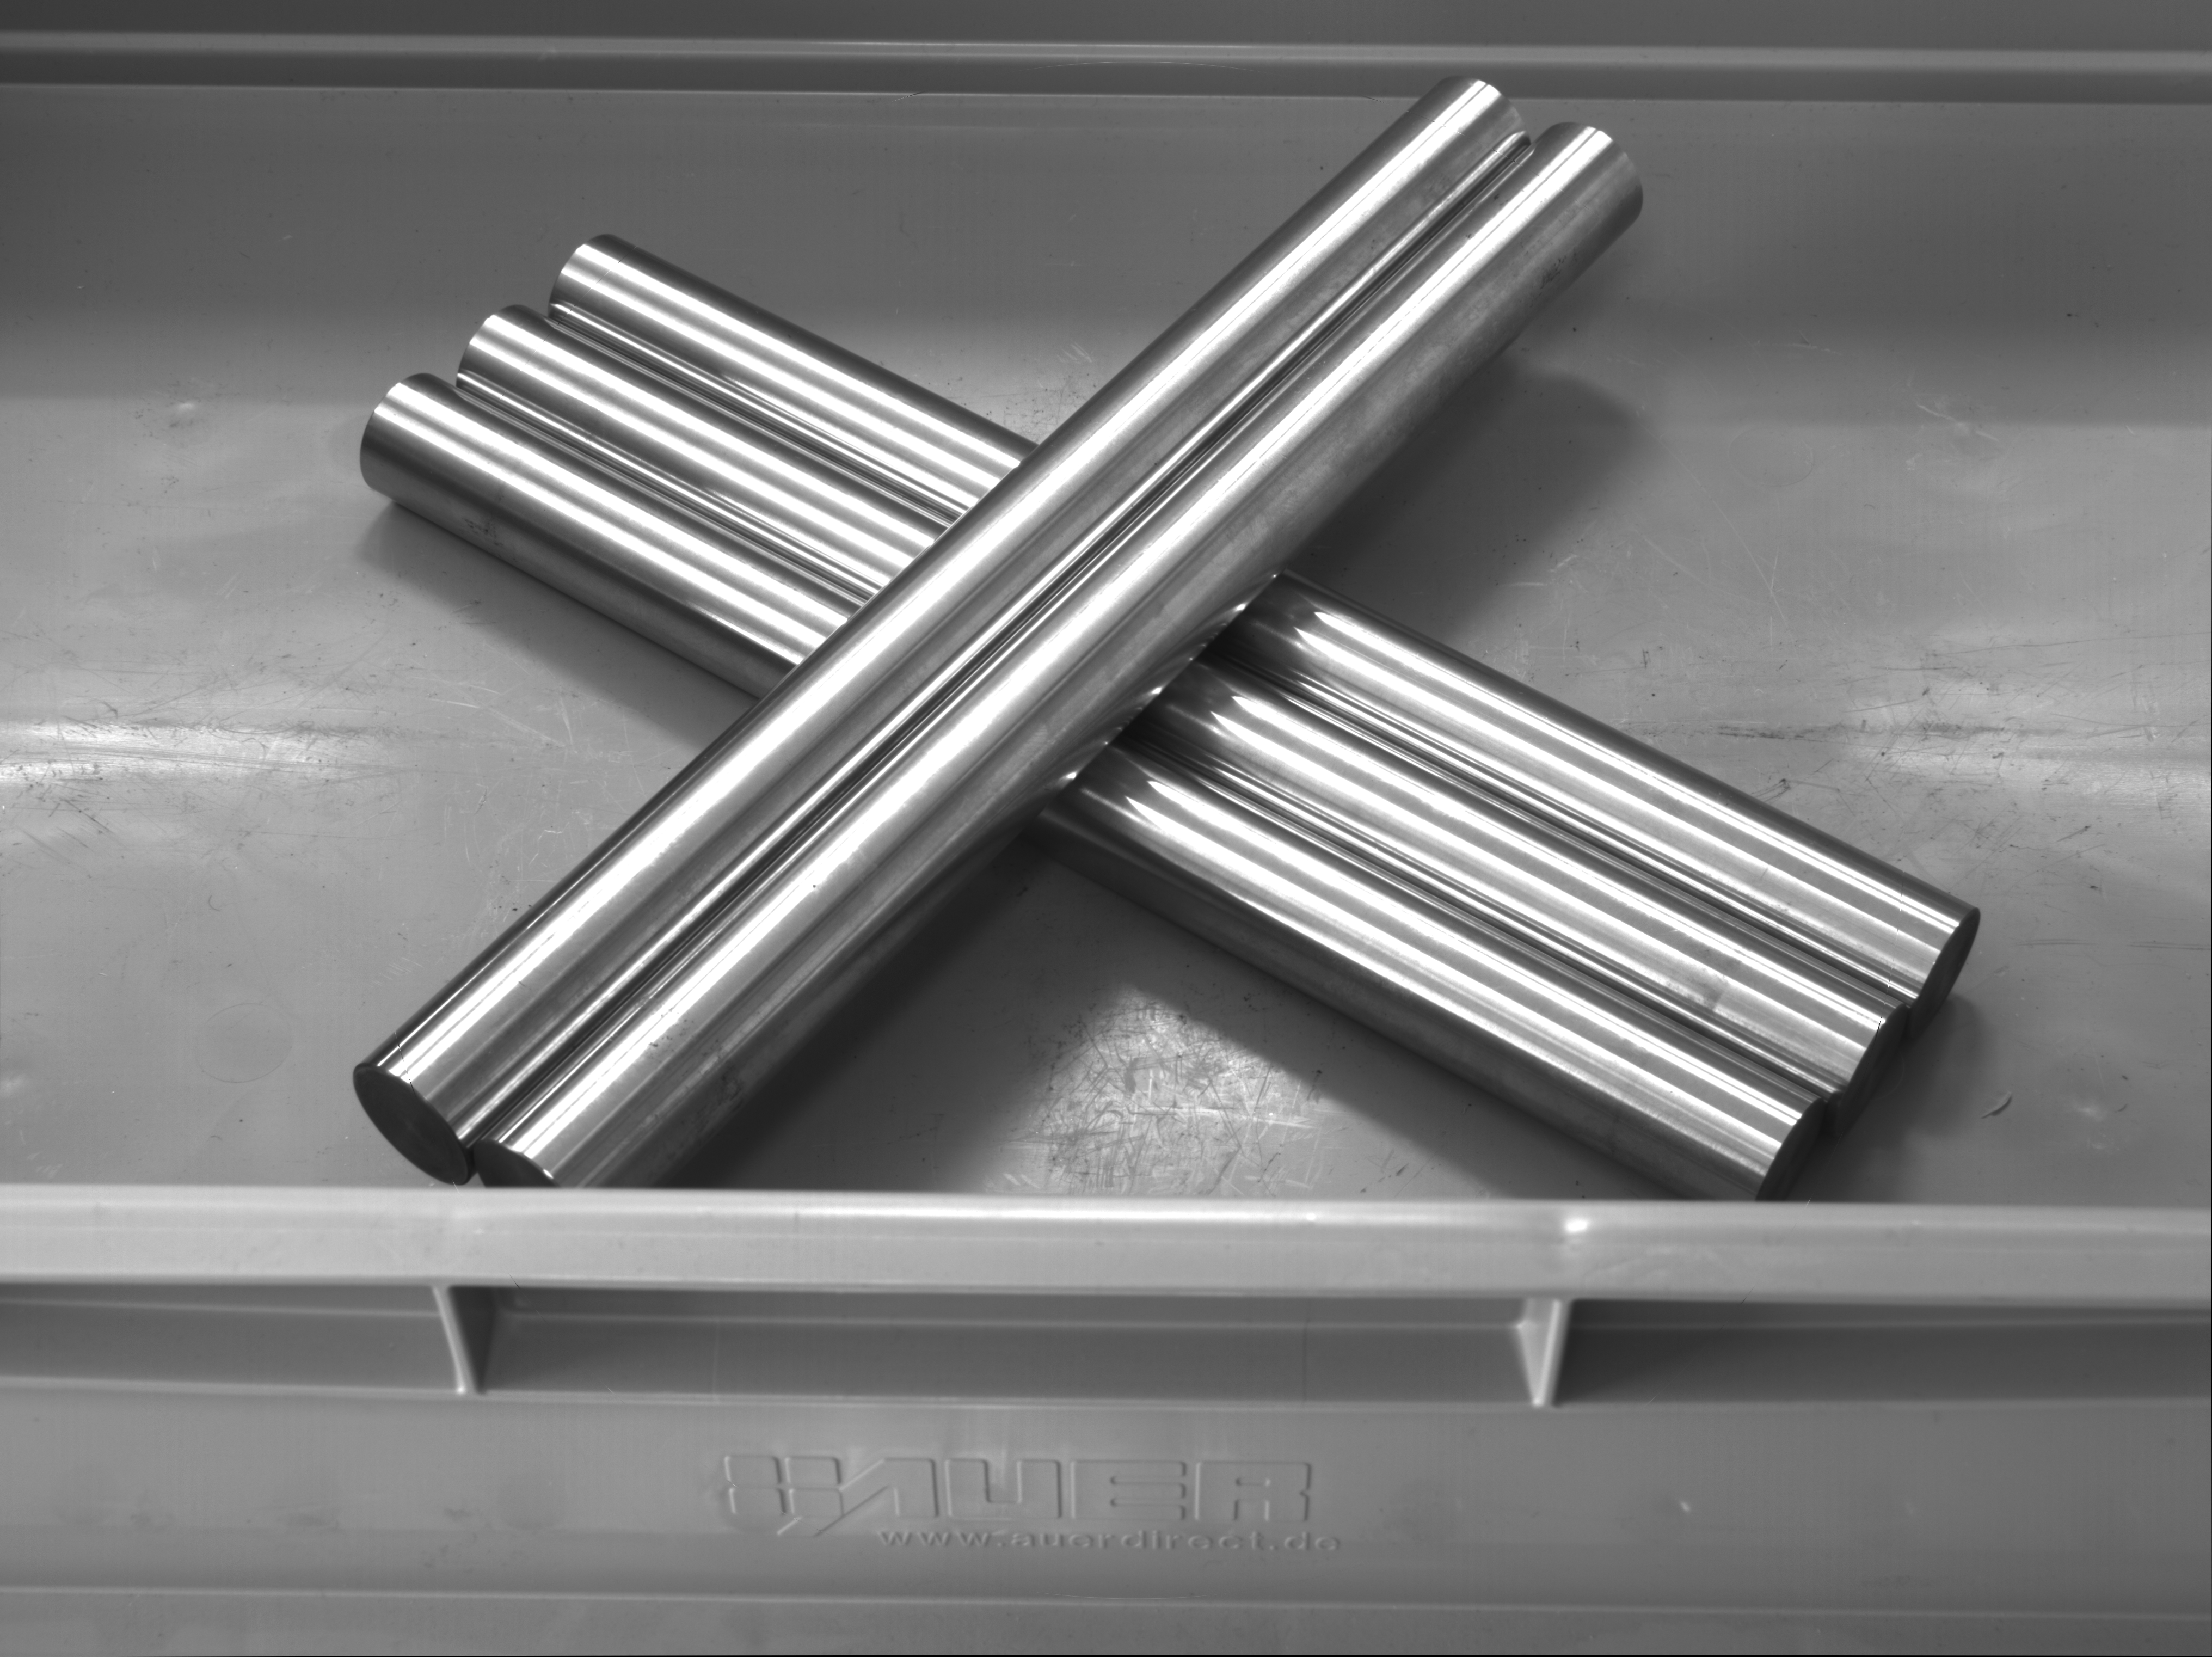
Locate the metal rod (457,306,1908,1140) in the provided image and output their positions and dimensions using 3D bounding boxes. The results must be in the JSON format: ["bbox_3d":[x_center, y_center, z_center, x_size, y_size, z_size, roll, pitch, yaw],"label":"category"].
[{"bbox_3d":[0.004,-0.025,0.661,0.299,0.025,0.025,28,55,22],"label":"metal rod"}]

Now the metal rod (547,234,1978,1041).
[{"bbox_3d":[0.019,-0.041,0.675,0.299,0.025,0.025,28,55,22],"label":"metal rod"}]

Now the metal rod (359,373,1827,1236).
[{"bbox_3d":[-0.012,-0.011,0.649,0.299,0.025,0.025,28,55,22],"label":"metal rod"}]

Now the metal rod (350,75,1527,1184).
[{"bbox_3d":[-0.018,-0.046,0.646,0.025,0.025,0.301,30,56,23],"label":"metal rod"}]

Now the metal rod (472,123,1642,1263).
[{"bbox_3d":[0.003,-0.035,0.637,0.025,0.025,0.301,30,56,23],"label":"metal rod"}]
